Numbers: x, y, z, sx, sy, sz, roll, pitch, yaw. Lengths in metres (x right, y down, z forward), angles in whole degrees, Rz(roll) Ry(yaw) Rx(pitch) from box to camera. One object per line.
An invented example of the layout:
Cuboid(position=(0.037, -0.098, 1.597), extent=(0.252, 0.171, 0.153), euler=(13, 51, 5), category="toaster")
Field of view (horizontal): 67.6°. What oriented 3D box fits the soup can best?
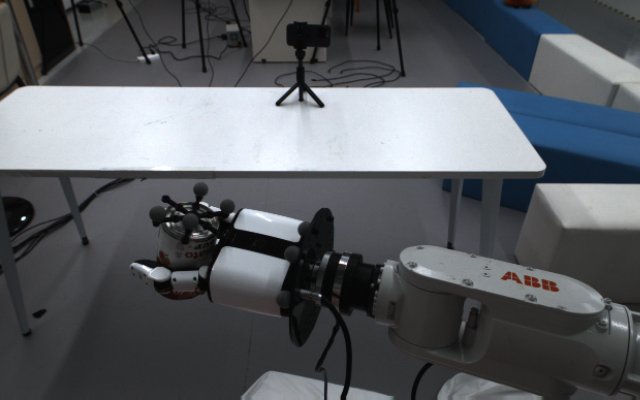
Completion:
Cuboid(position=(-0.160, 0.062, 0.577), extent=(0.067, 0.101, 0.067), euler=(14, 35, -10), category="soup can")
